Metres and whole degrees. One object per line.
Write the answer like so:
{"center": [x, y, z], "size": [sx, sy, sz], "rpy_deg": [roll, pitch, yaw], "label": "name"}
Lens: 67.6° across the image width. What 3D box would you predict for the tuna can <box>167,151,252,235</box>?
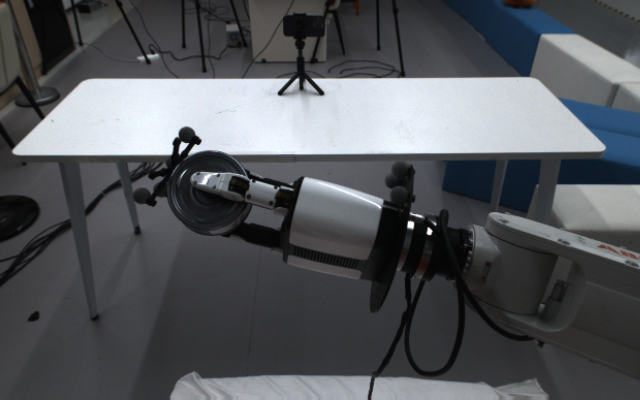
{"center": [-0.110, -0.003, 0.504], "size": [0.085, 0.034, 0.085], "rpy_deg": [1, 76, -6], "label": "tuna can"}
